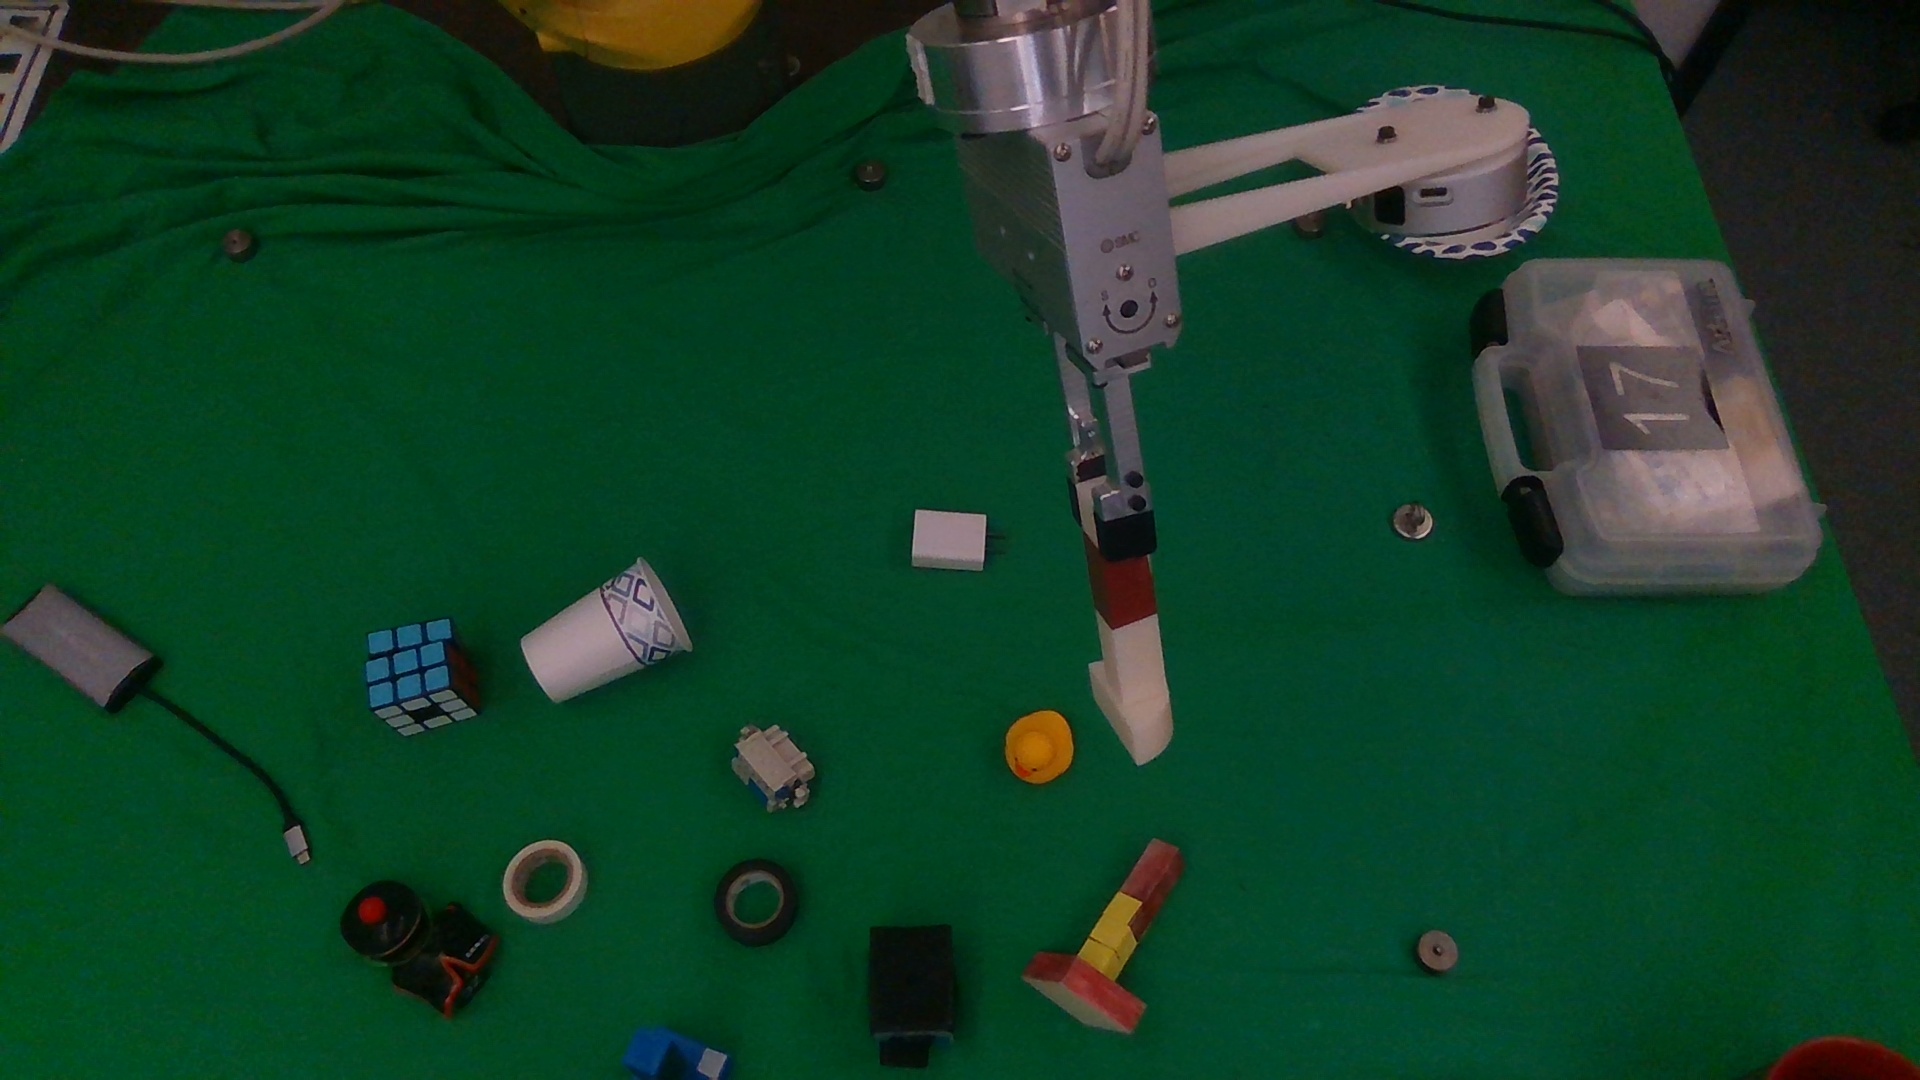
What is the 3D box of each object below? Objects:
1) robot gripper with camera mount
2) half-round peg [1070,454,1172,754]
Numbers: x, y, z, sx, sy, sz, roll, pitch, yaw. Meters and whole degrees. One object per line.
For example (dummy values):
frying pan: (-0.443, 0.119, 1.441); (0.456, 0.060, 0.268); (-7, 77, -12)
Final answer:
robot gripper with camera mount: (0.117, -0.102, 0.518); (0.193, 0.158, 0.119); (-19, 32, -6)
half-round peg: (0.064, 0.023, 0.560); (0.031, 0.122, 0.054); (-15, 30, -7)
